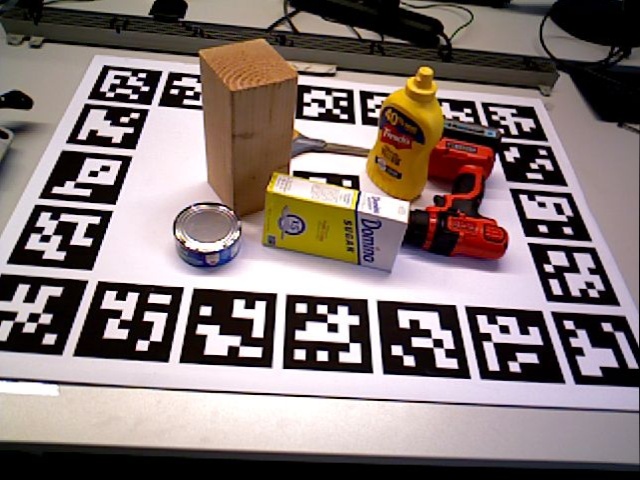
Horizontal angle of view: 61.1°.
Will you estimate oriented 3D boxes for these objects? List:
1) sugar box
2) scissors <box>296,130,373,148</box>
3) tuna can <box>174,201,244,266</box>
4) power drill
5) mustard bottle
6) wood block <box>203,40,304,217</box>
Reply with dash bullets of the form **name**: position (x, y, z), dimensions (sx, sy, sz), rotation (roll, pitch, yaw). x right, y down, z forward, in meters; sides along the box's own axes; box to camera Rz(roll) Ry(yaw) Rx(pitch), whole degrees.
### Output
- **sugar box**: position (0.028, -0.019, 0.678), dimensions (0.176, 0.095, 0.044), rotation (15, 47, 2)
- **scissors**: position (-0.019, -0.152, 0.826), dimensions (0.202, 0.016, 0.086), rotation (6, 47, -2)
- **tuna can**: position (-0.138, -0.010, 0.681), dimensions (0.085, 0.034, 0.084), rotation (4, 52, -5)
- **power drill**: position (0.168, -0.065, 0.753), dimensions (0.184, 0.058, 0.183), rotation (14, 58, 5)
- **mustard bottle**: position (0.127, -0.146, 0.735), dimensions (0.057, 0.196, 0.096), rotation (-31, 62, -28)
- **wood block**: position (-0.089, -0.137, 0.693), dimensions (0.089, 0.211, 0.089), rotation (-19, 57, -22)
